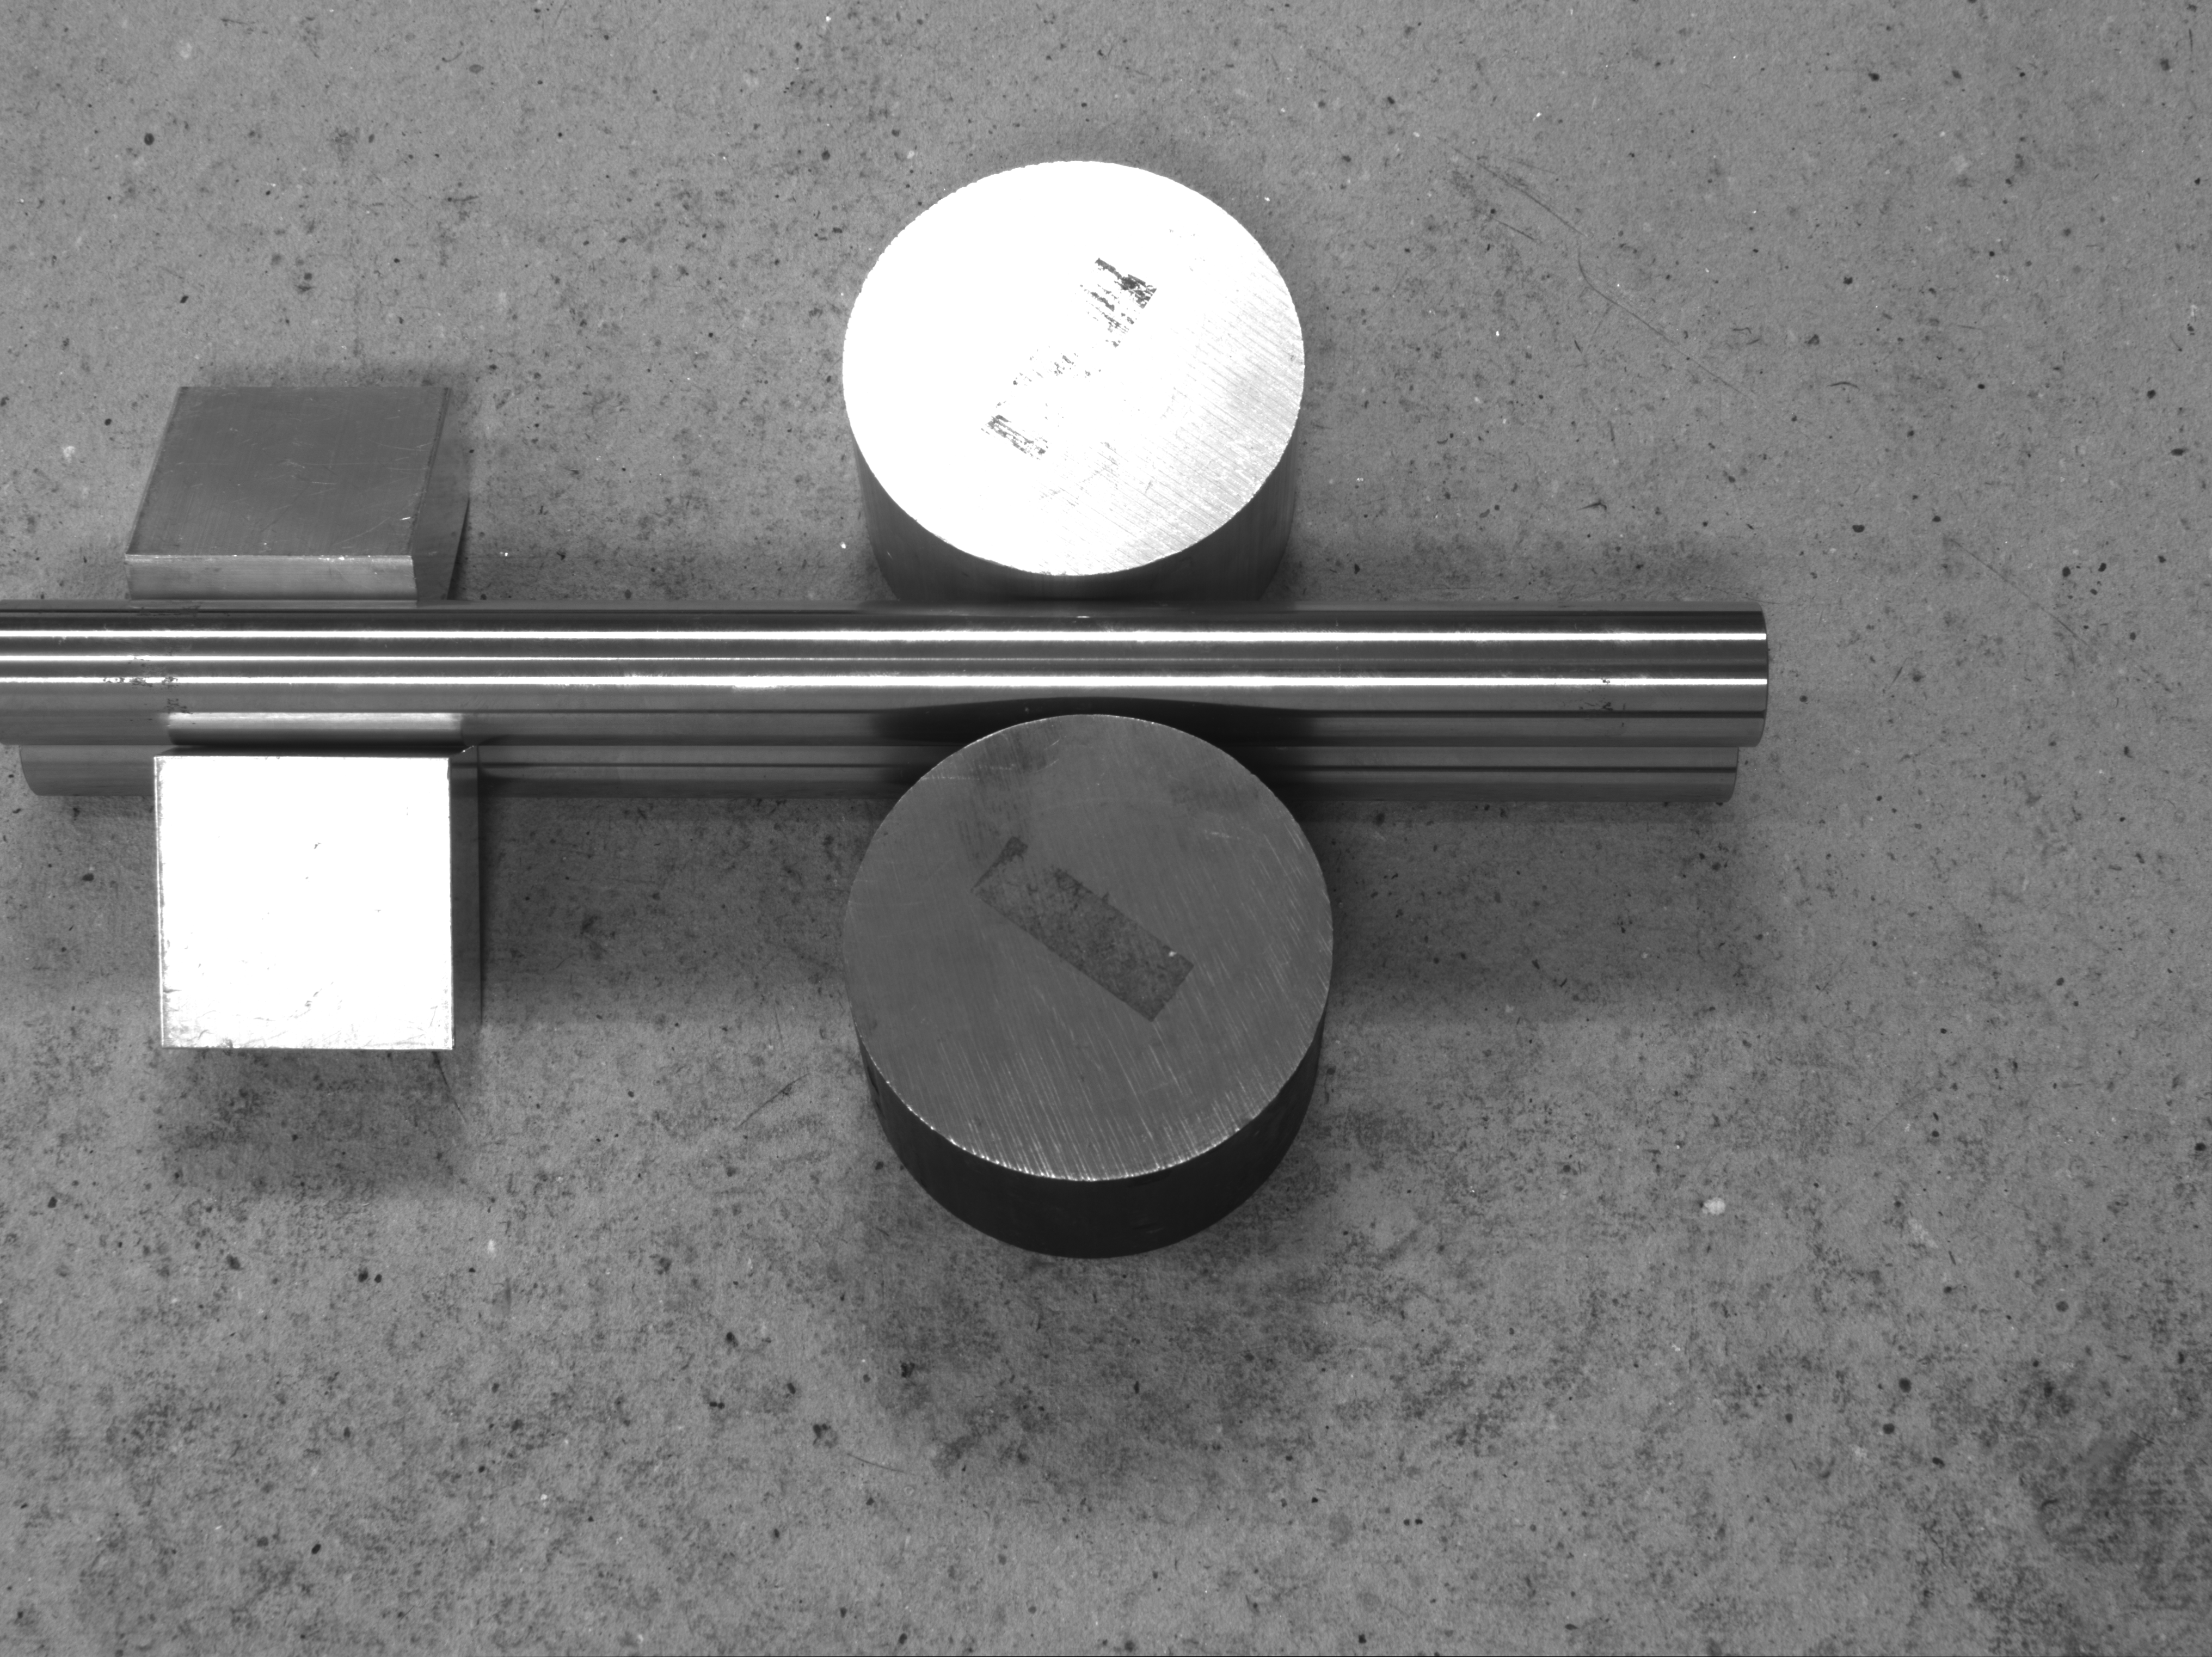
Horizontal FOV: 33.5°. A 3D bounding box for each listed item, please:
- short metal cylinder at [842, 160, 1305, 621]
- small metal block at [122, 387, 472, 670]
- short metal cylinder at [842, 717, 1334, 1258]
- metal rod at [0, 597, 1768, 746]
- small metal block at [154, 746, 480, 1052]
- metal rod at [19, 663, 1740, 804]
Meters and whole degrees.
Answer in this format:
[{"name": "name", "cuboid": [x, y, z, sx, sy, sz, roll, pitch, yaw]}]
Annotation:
[{"name": "short metal cylinder", "cuboid": [-0.005, -0.072, 0.659, 0.080, 0.050, 0.080, 0, 70, 0]}, {"name": "small metal block", "cuboid": [-0.143, -0.054, 0.656, 0.050, 0.025, 0.050, 0, 43, 0]}, {"name": "short metal cylinder", "cuboid": [-0.003, 0.028, 0.622, 0.080, 0.050, 0.080, 0, 70, 0]}, {"name": "metal rod", "cuboid": [-0.039, -0.027, 0.629, 0.300, 0.025, 0.025, 0, 70, 0]}, {"name": "small metal block", "cuboid": [-0.135, 0.011, 0.631, 0.050, 0.025, 0.050, 1, 96, 0]}, {"name": "metal rod", "cuboid": [-0.040, -0.018, 0.652, 0.300, 0.025, 0.025, 0, 70, 0]}]
